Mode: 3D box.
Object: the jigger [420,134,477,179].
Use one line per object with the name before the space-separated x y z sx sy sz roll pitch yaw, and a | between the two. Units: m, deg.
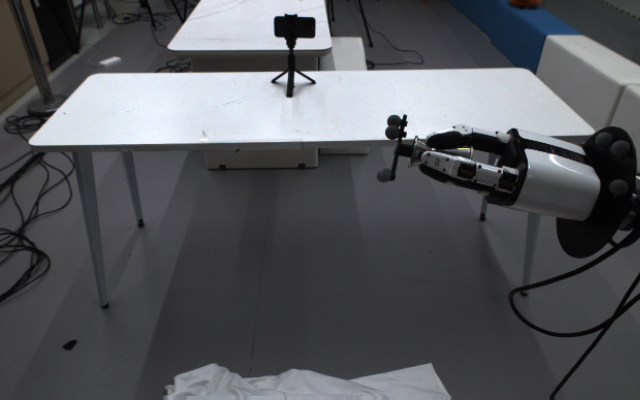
jigger | 0.151 -0.054 0.584 0.071 0.043 0.043 12 36 5
